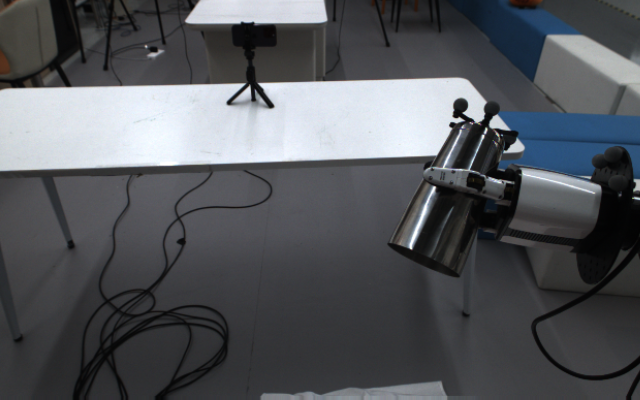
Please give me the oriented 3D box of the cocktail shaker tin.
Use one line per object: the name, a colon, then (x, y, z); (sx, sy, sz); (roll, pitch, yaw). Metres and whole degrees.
cocktail shaker tin: (0.160, -0.007, 0.581); (0.093, 0.093, 0.170); (21, 81, 26)
